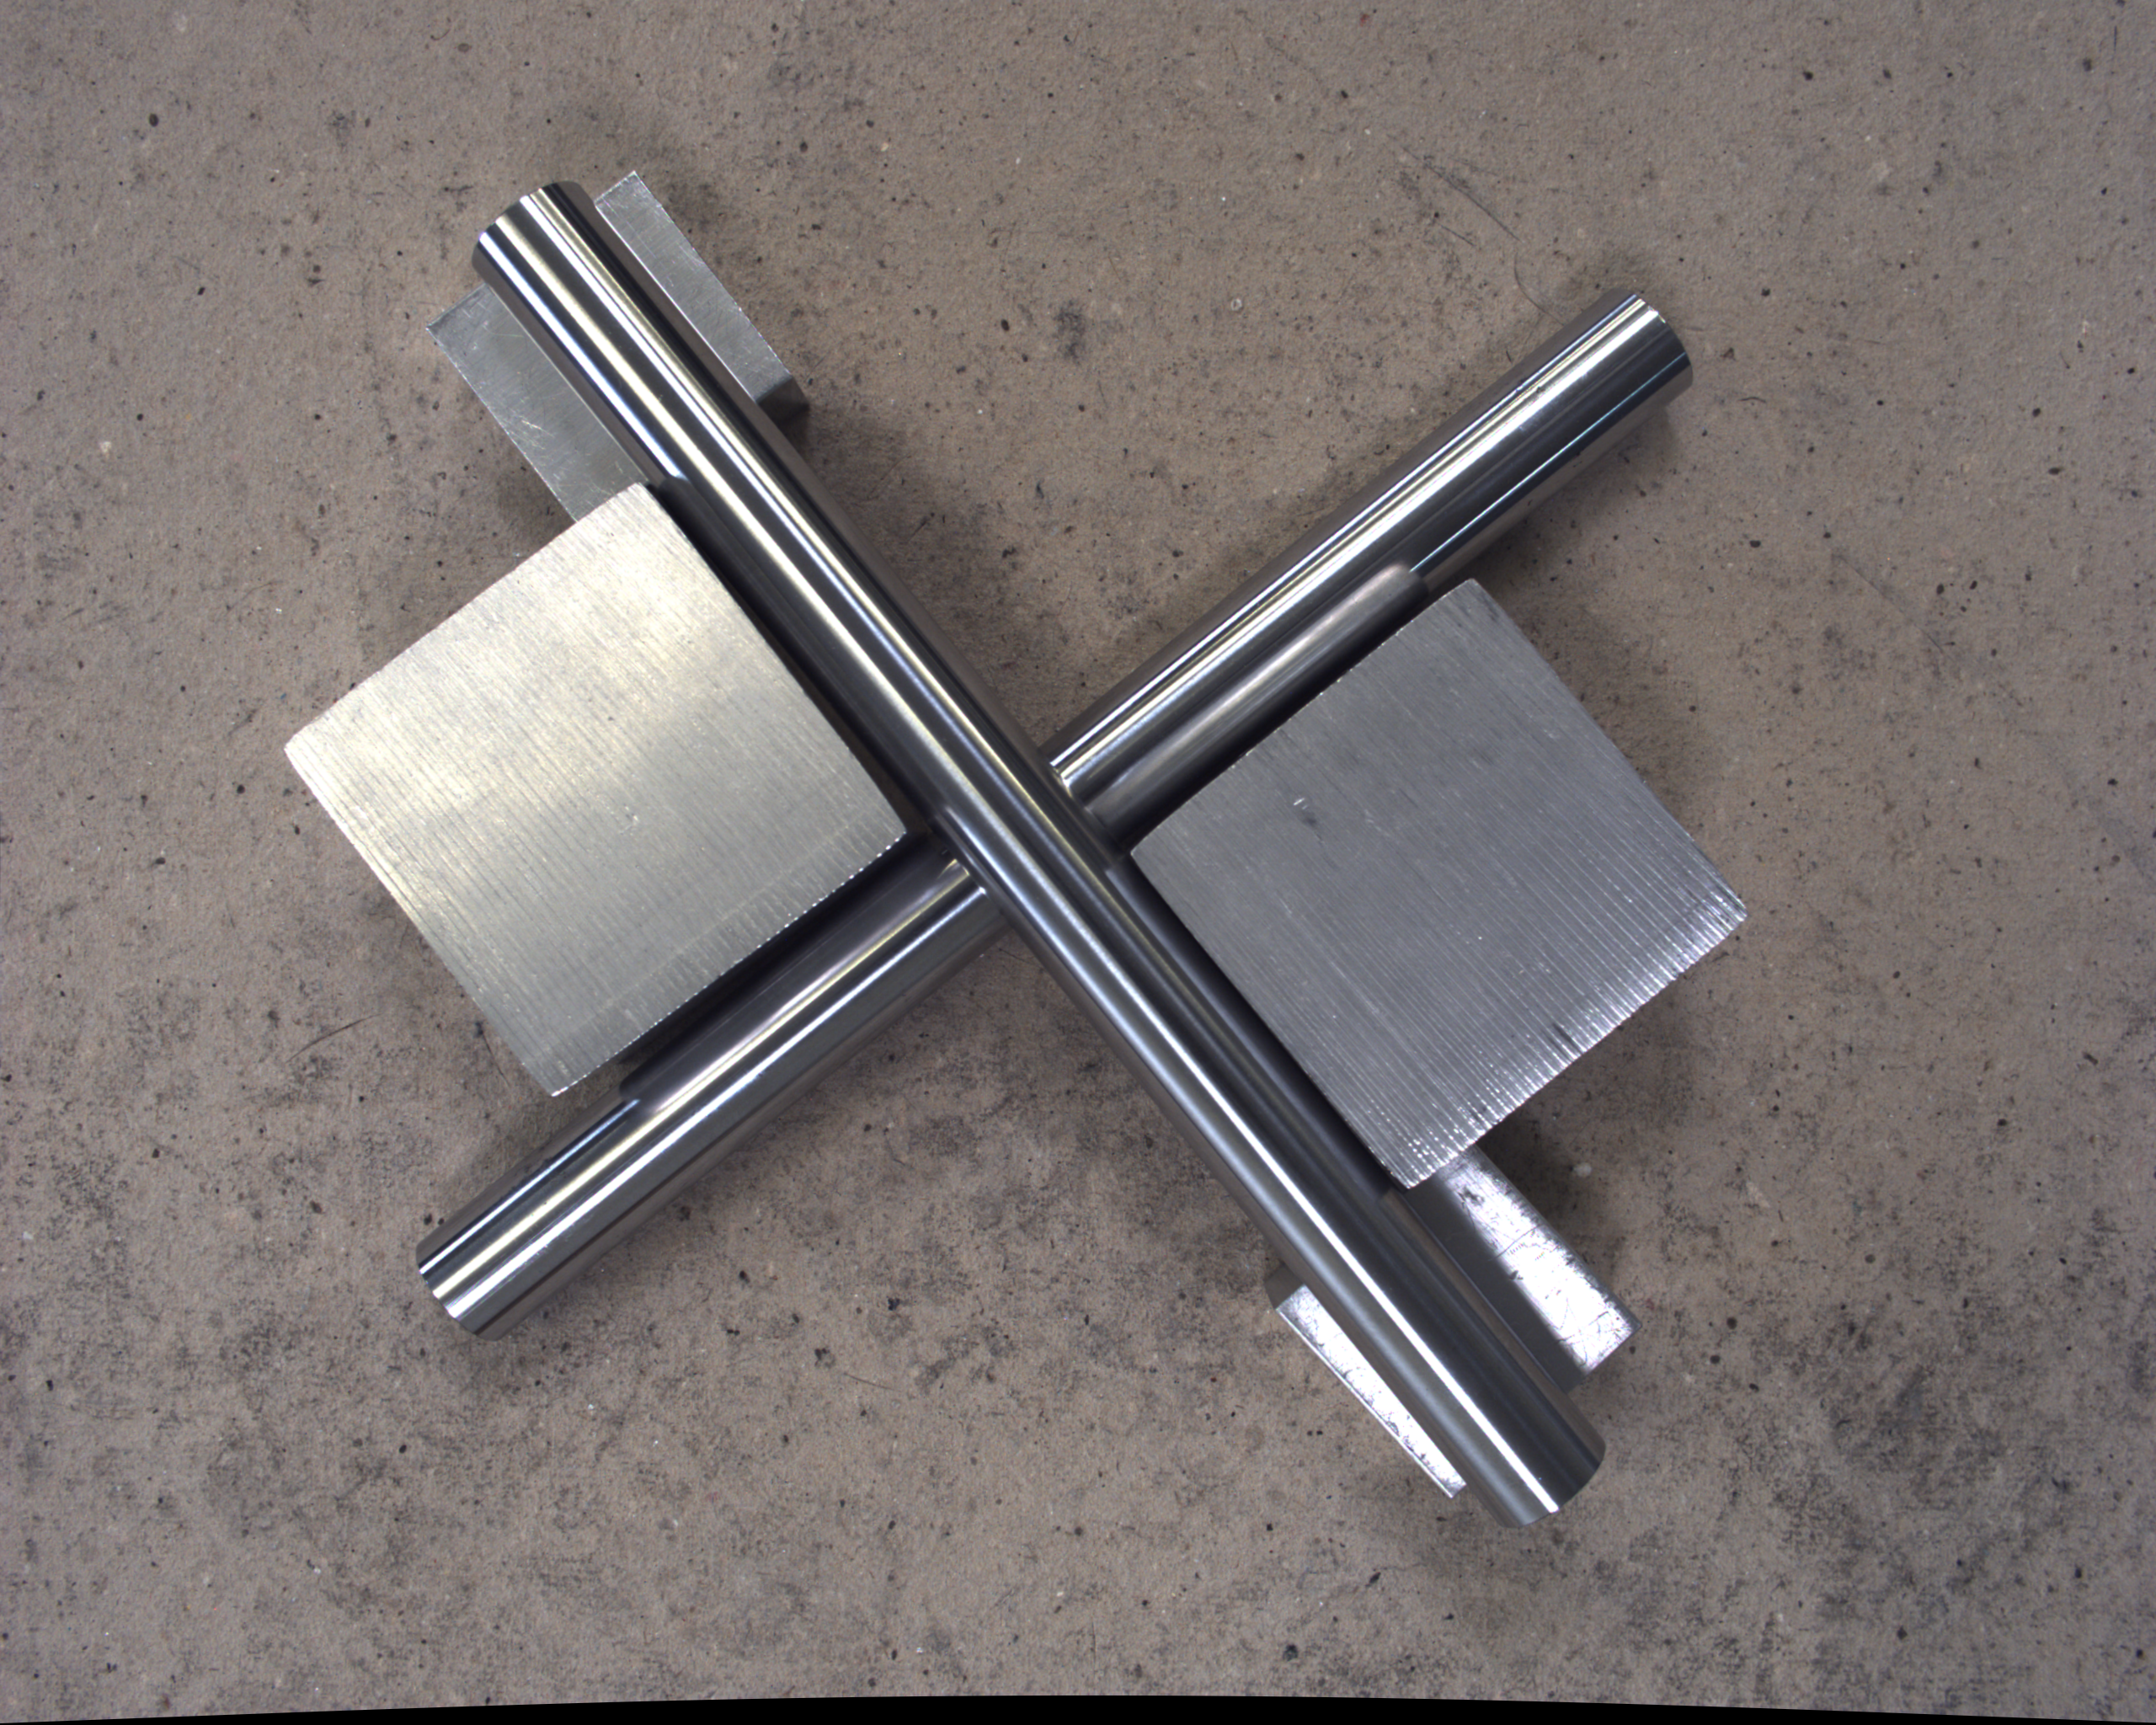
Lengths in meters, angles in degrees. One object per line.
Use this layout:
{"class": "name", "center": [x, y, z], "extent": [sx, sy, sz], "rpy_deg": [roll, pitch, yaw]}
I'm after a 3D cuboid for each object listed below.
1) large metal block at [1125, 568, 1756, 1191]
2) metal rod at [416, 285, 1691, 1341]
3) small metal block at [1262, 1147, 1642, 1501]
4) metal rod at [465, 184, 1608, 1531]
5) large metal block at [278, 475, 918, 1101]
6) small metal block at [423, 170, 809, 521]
{"class": "large metal block", "center": [0.065, 0.003, 0.399], "extent": [0.080, 0.050, 0.080], "rpy_deg": [-39, 90, 0]}
{"class": "metal rod", "center": [-0.004, -0.010, 0.412], "extent": [0.300, 0.025, 0.025], "rpy_deg": [-39, 90, 0]}
{"class": "small metal block", "center": [0.073, 0.087, 0.412], "extent": [0.050, 0.025, 0.050], "rpy_deg": [-43, 90, 0]}
{"class": "metal rod", "center": [-0.007, -0.001, 0.385], "extent": [0.025, 0.025, 0.300], "rpy_deg": [-39, 90, 0]}
{"class": "large metal block", "center": [-0.086, -0.013, 0.396], "extent": [0.080, 0.050, 0.080], "rpy_deg": [-37, 90, 0]}
{"class": "small metal block", "center": [-0.090, -0.098, 0.411], "extent": [0.050, 0.025, 0.050], "rpy_deg": [-37, 90, 0]}
